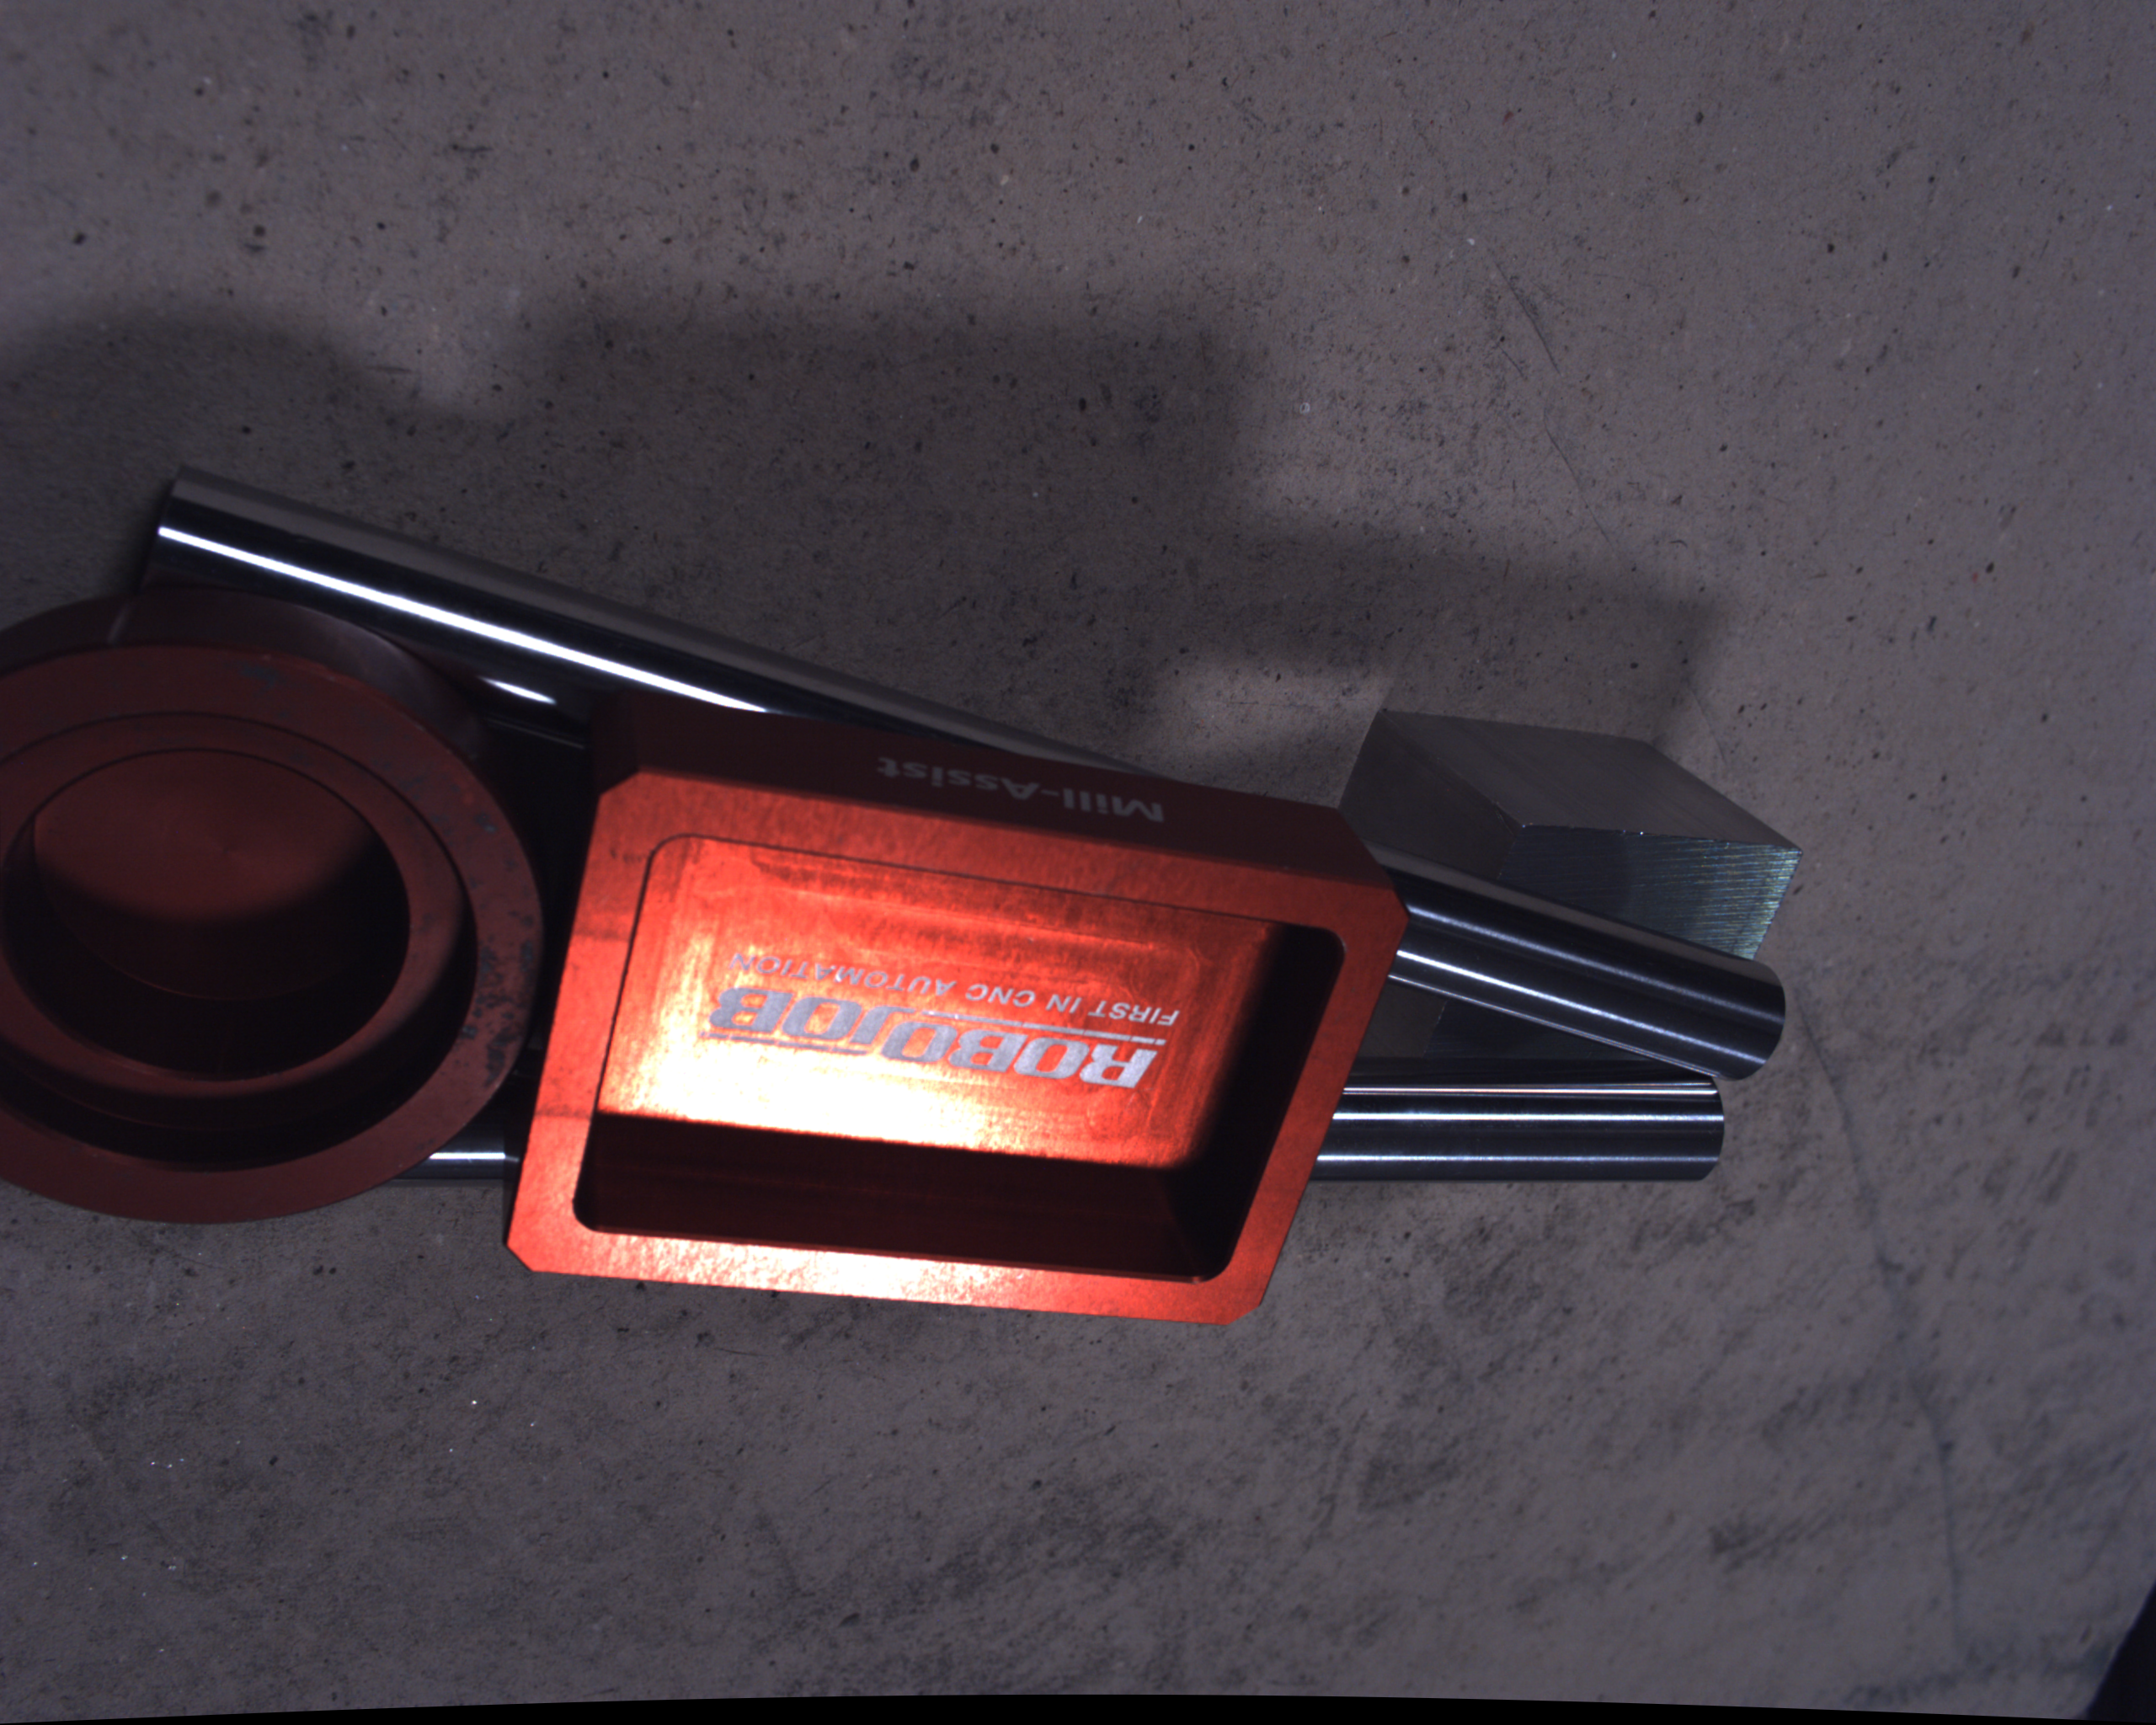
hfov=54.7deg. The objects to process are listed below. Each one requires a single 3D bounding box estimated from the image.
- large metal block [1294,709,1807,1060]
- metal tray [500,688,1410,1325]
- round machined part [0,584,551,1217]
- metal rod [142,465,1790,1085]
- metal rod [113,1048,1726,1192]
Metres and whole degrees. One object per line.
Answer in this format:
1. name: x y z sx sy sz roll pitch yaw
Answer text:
1. large metal block: 0.098 0.017 0.456 0.081 0.050 0.079 4 117 -31
2. metal tray: -0.021 0.028 0.344 0.131 0.030 0.089 9 115 -19
3. round machined part: -0.133 0.003 0.320 0.099 0.042 0.097 -7 119 -13
4. metal rod: -0.001 -0.007 0.363 0.302 0.025 0.025 16 110 -22
5. metal rod: -0.019 0.048 0.387 0.302 0.025 0.025 2 118 -16
